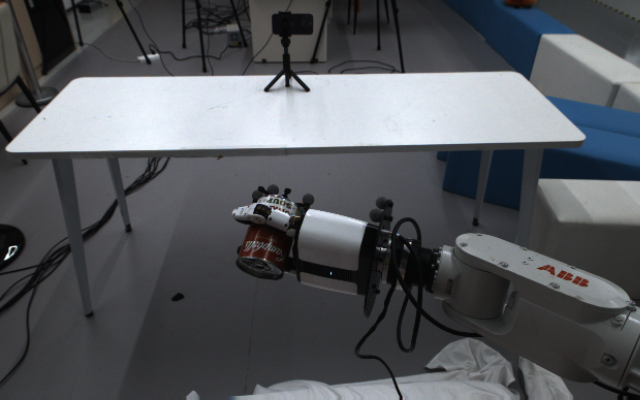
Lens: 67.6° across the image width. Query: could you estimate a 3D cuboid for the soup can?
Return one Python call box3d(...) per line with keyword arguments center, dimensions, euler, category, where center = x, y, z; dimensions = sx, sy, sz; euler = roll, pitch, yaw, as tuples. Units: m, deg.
box3d(center=(-0.069, 0.051, 0.672), dimensions=(0.067, 0.067, 0.101), euler=(9, 58, 10), category="soup can")
